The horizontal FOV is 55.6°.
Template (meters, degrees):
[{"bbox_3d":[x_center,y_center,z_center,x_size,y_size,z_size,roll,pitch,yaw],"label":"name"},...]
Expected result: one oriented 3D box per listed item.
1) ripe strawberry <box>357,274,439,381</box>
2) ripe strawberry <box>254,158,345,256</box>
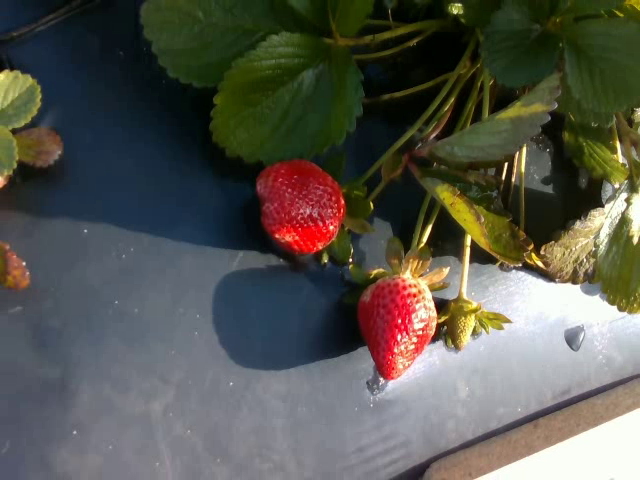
[{"bbox_3d":[0.035,0.040,0.264,0.043,0.053,0.038,34,-41,-29],"label":"ripe strawberry"},{"bbox_3d":[-0.009,-0.014,0.267,0.039,0.048,0.054,19,15,39],"label":"ripe strawberry"}]
